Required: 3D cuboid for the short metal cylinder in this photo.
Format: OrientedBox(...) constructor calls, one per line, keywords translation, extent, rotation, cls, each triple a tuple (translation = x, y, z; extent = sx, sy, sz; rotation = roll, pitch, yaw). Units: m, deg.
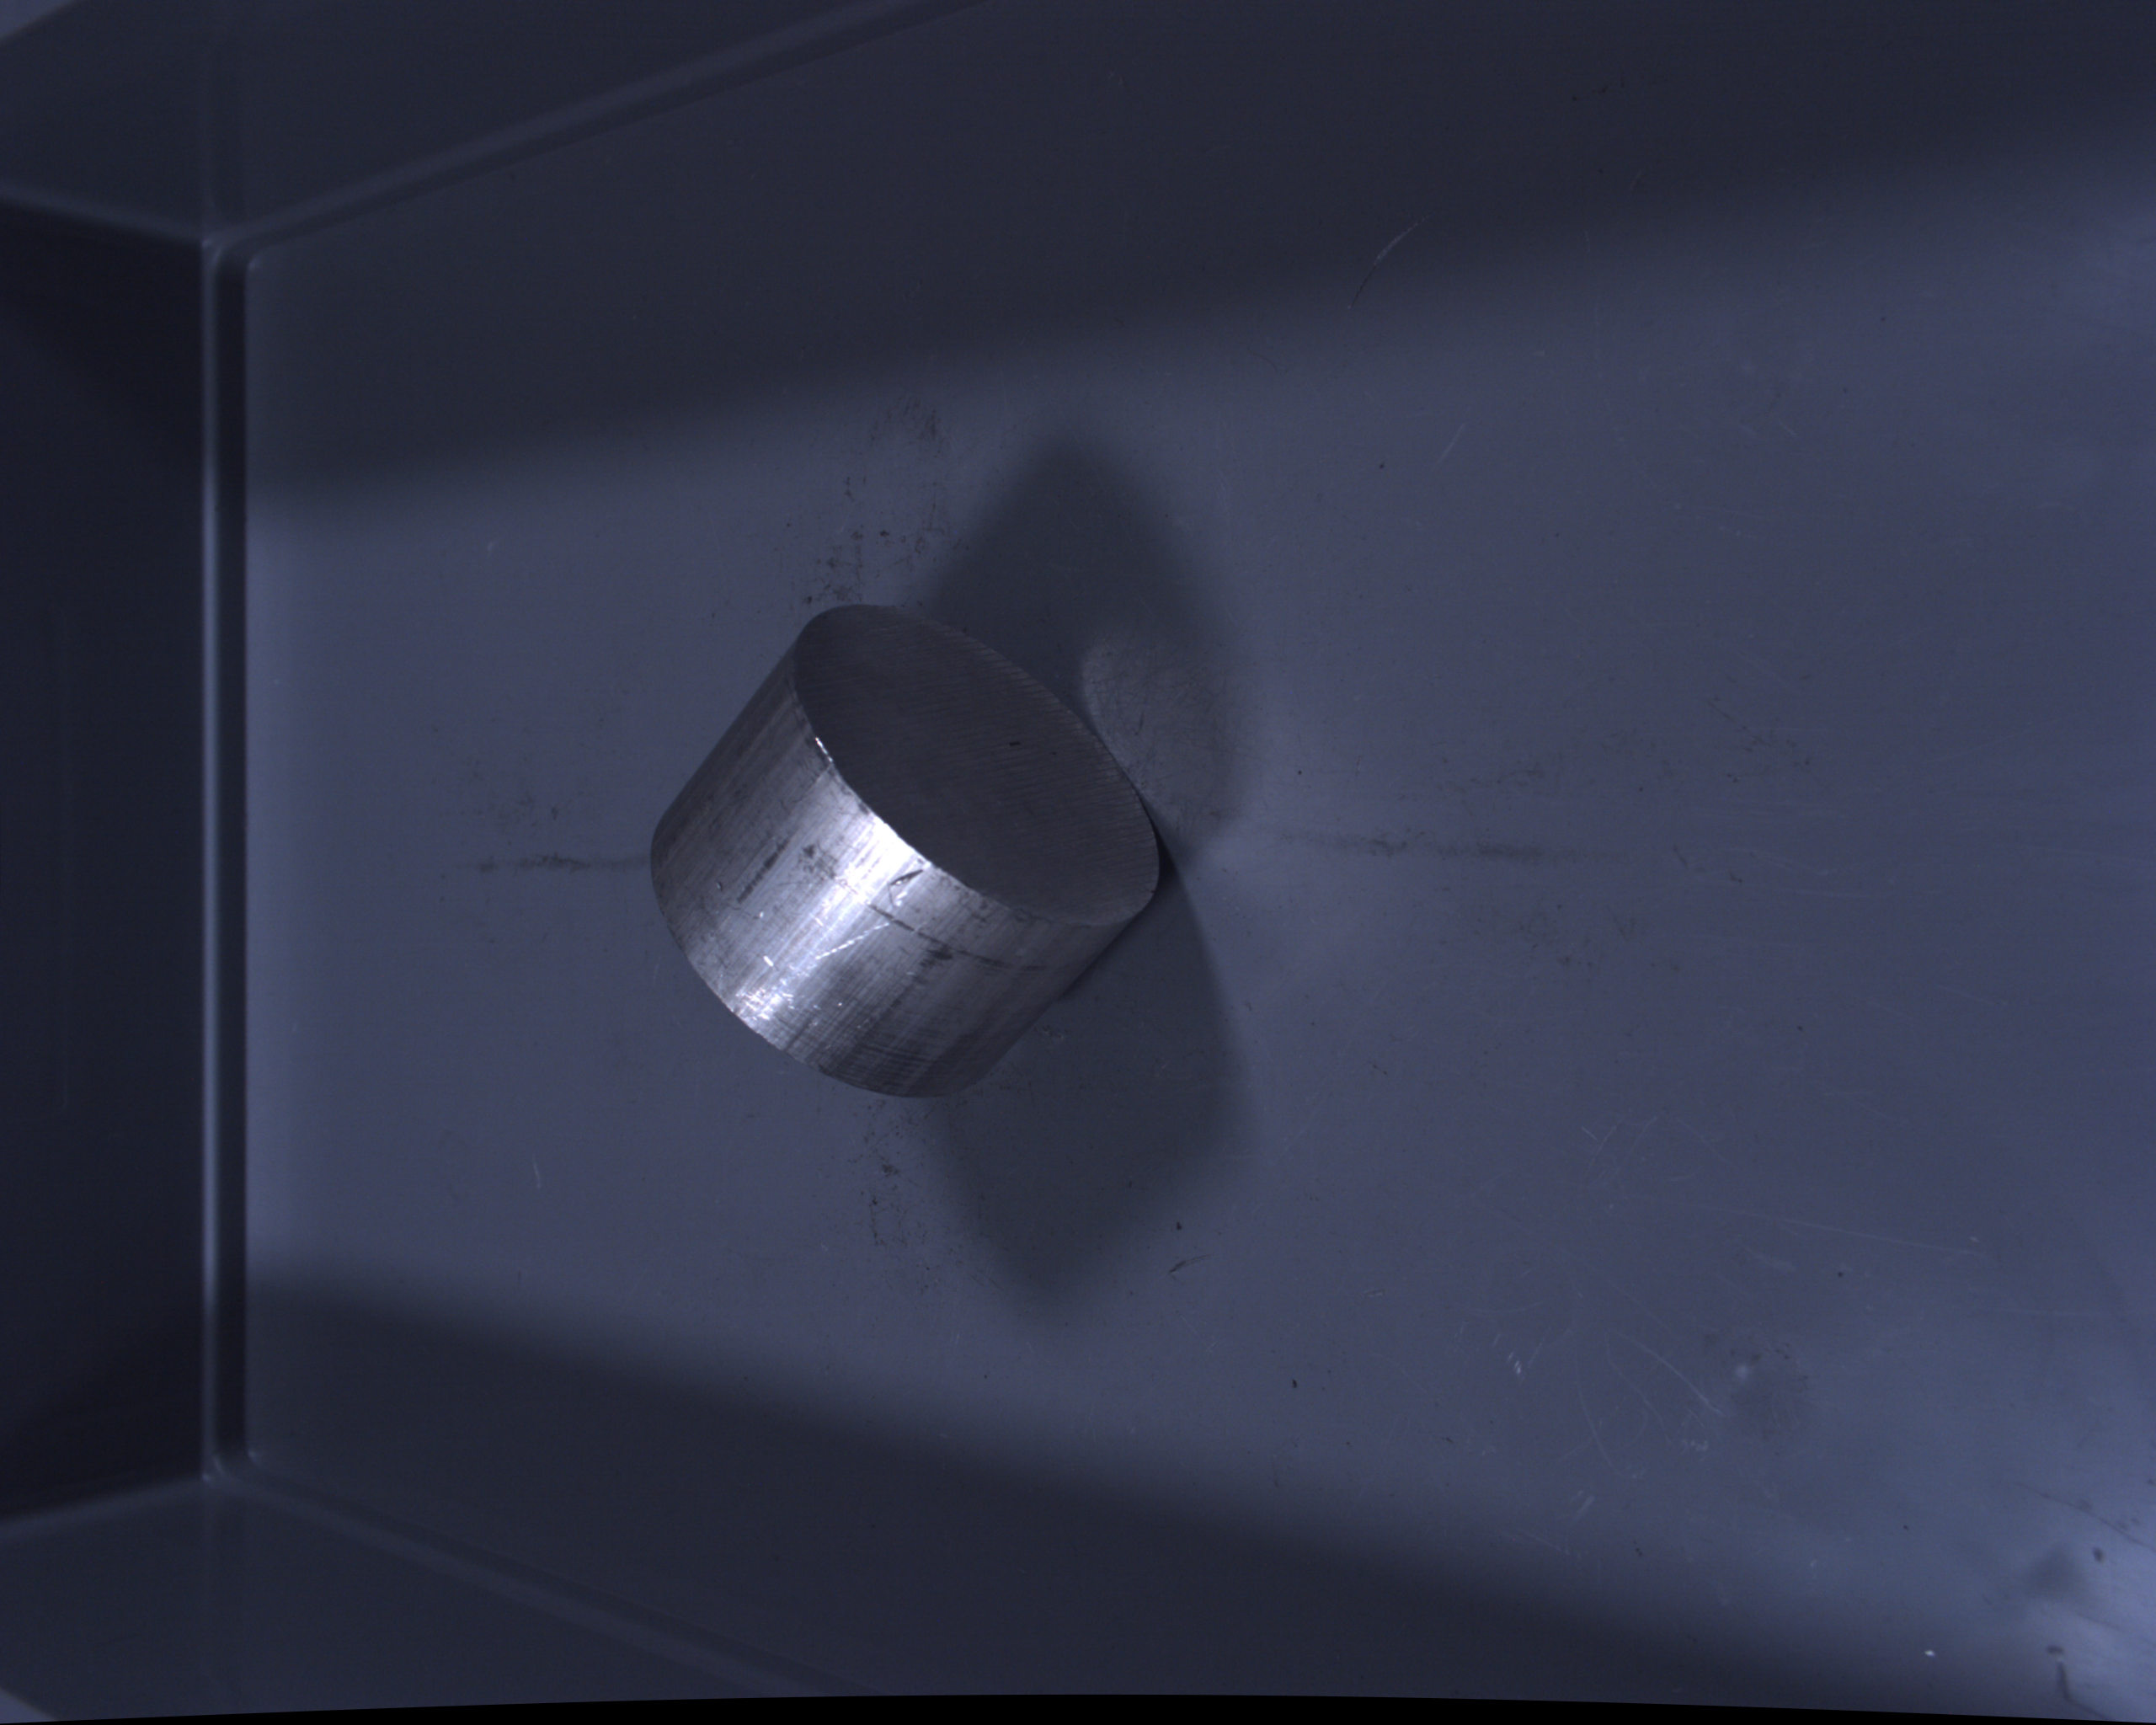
OrientedBox(translation=(-0.032, -0.003, 0.392), extent=(0.050, 0.081, 0.080), rotation=(-49, 62, 29), cls="short metal cylinder")
